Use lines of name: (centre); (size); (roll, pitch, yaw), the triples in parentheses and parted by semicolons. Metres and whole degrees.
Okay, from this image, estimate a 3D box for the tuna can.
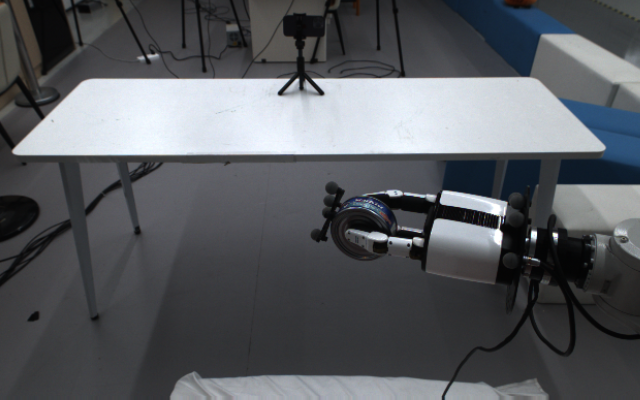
tuna can: (0.061, 0.037, 0.651); (0.085, 0.085, 0.034); (12, 30, 14)
